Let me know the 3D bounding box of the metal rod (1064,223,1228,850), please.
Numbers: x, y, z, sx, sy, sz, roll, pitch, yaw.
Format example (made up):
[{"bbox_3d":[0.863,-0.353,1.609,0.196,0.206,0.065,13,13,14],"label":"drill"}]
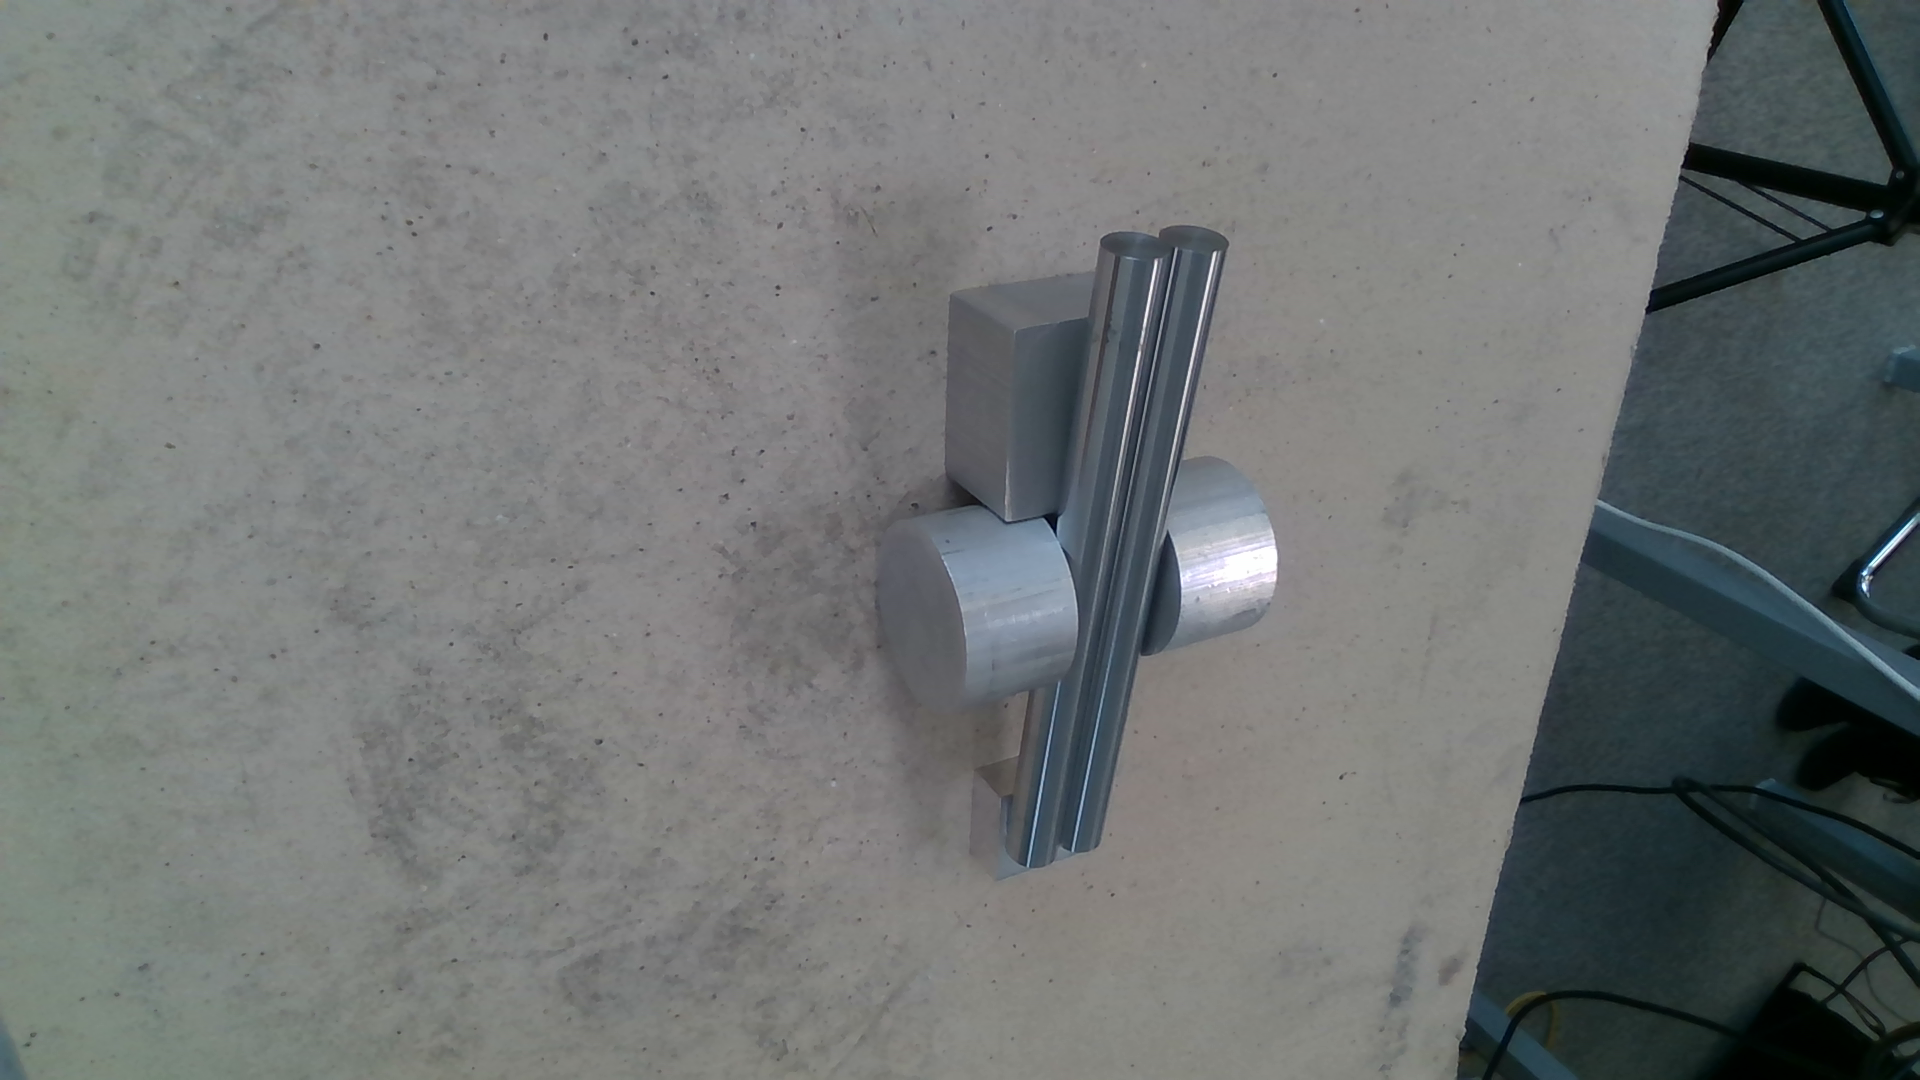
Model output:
[{"bbox_3d":[0.069,0.015,0.575,0.025,0.025,0.301,-13,129,-26],"label":"metal rod"}]

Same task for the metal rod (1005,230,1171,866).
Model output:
[{"bbox_3d":[0.047,0.020,0.564,0.025,0.025,0.301,-13,129,-26],"label":"metal rod"}]

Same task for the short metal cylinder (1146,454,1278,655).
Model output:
[{"bbox_3d":[0.094,0.006,0.607,0.050,0.080,0.080,-13,121,-26],"label":"short metal cylinder"}]

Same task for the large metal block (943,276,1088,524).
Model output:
[{"bbox_3d":[0.041,-0.060,0.558,0.080,0.050,0.080,-13,121,-26],"label":"large metal block"}]

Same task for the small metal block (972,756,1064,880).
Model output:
[{"bbox_3d":[0.033,0.132,0.674,0.050,0.025,0.050,-12,120,-26],"label":"small metal block"}]

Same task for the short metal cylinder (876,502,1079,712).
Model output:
[{"bbox_3d":[0.006,0.025,0.563,0.050,0.080,0.080,-13,121,-26],"label":"short metal cylinder"}]
